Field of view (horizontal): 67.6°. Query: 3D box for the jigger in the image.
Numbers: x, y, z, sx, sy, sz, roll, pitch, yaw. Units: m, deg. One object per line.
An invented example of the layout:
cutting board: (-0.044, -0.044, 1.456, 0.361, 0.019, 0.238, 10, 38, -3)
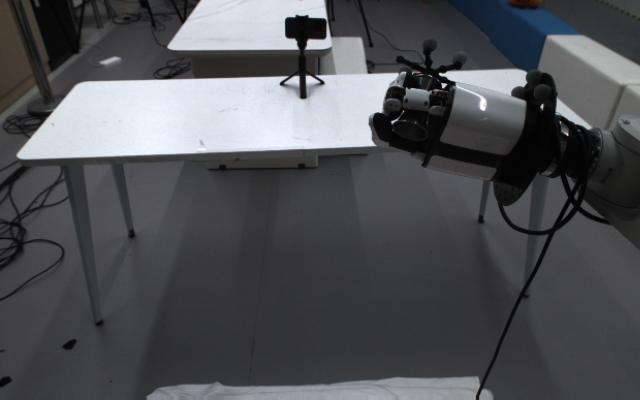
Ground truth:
jigger: (0.120, -0.113, 0.581, 0.043, 0.043, 0.071, 14, 71, 17)
